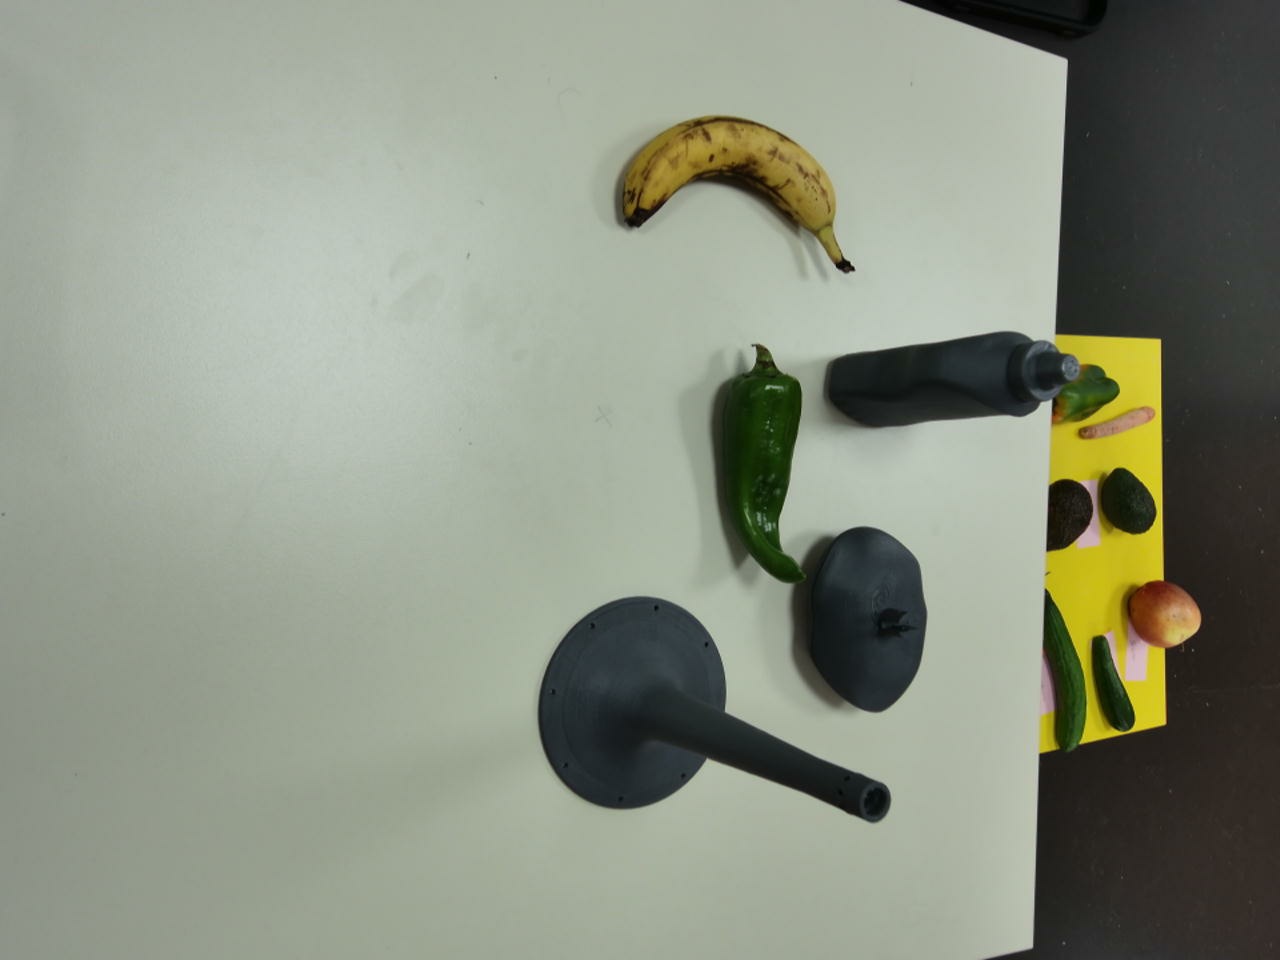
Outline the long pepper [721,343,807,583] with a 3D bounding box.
[{"bbox_3d":[0.091,-0.013,0.721,0.058,0.065,0.175,1,90,-28],"label":"long pepper"}]
